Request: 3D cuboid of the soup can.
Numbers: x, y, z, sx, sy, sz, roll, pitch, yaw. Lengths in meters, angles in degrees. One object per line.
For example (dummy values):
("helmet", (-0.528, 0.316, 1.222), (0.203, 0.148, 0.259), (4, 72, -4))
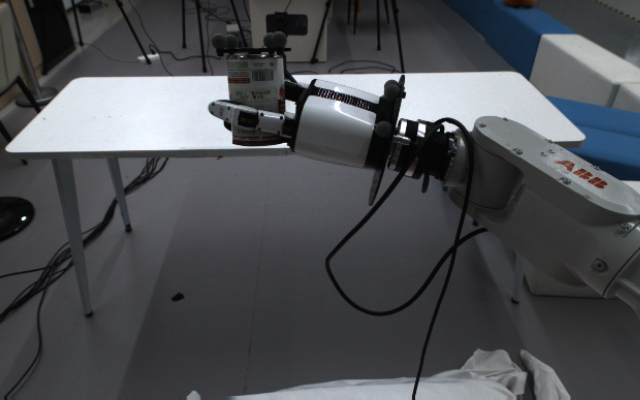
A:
("soup can", (-0.073, -0.119, 0.573), (0.067, 0.101, 0.067), (-1, 17, 0))
